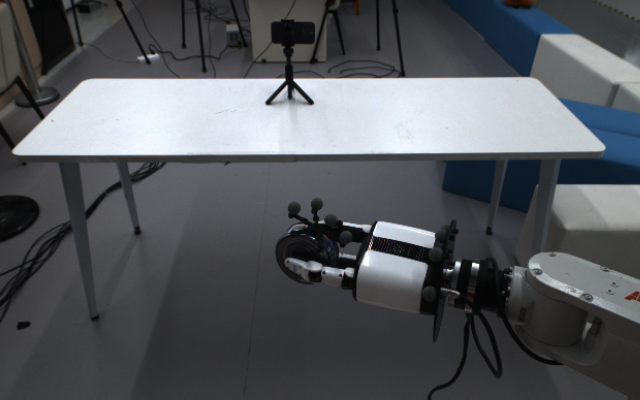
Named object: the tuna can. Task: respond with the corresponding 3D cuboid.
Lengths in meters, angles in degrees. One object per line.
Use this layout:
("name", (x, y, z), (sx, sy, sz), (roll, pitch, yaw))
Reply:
("tuna can", (-0.015, 0.082, 0.673), (0.085, 0.085, 0.034), (15, 31, 18))
